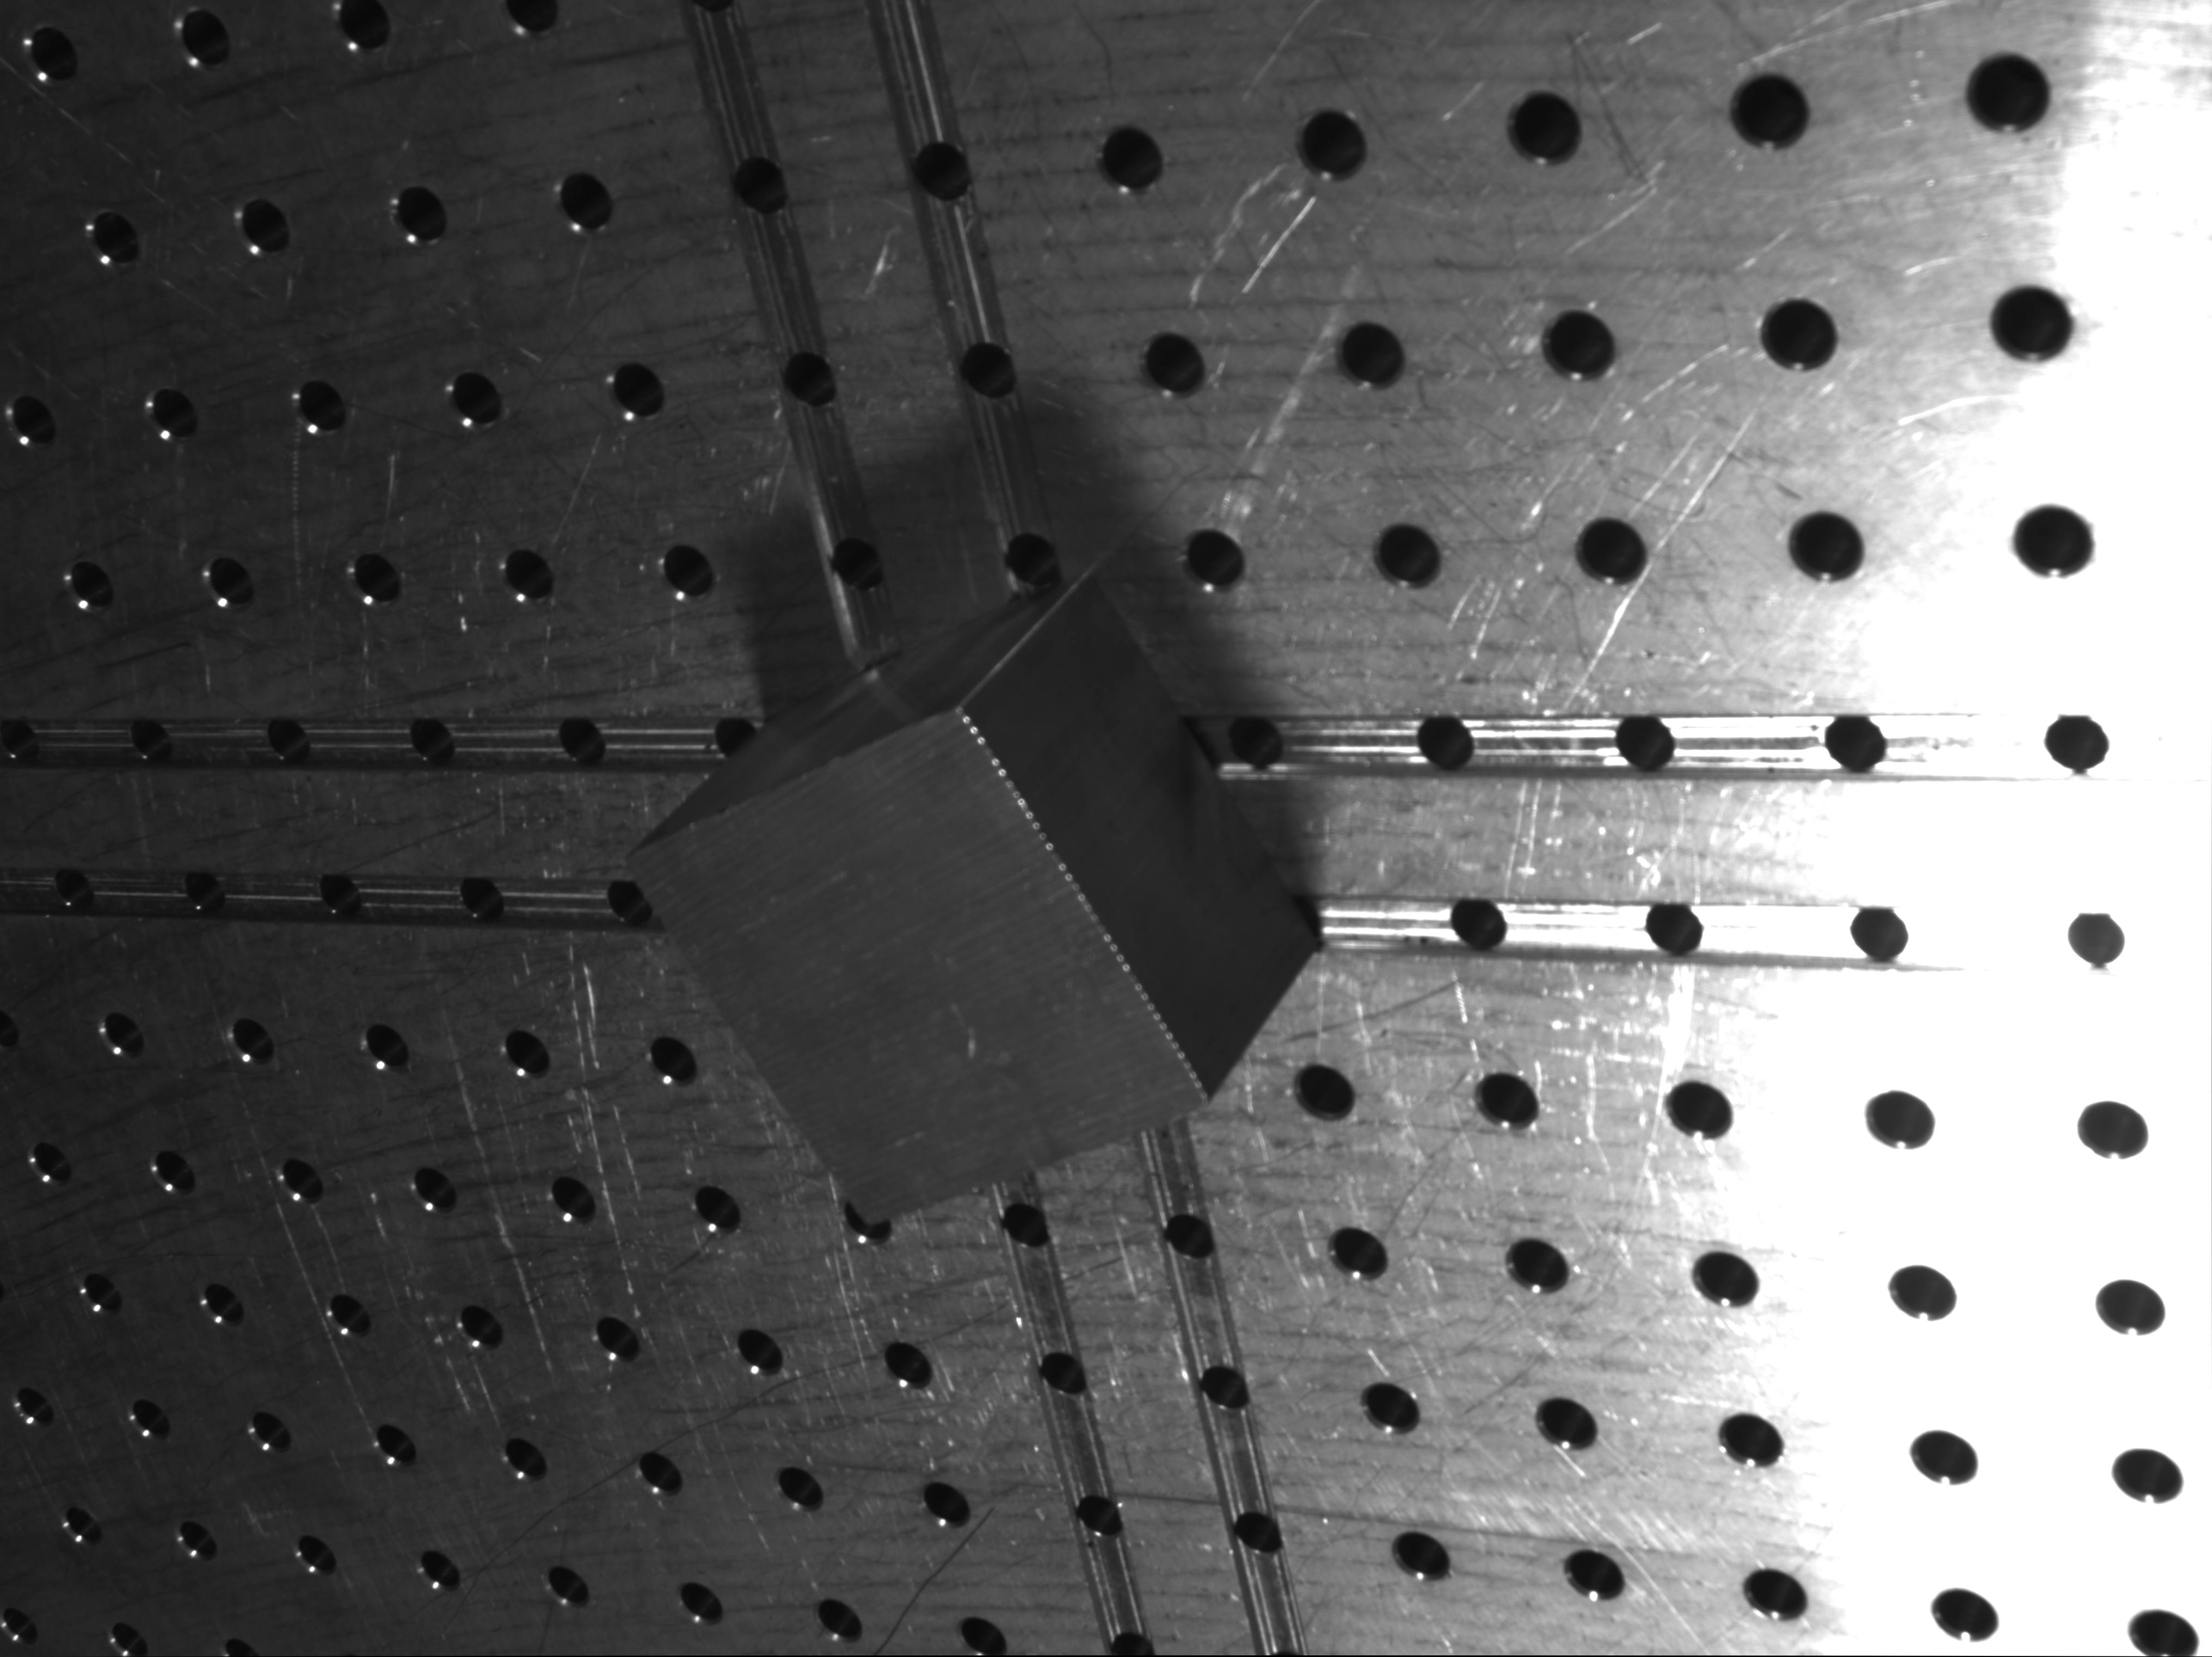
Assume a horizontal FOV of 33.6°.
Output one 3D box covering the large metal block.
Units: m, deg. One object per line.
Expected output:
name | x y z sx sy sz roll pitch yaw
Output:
large metal block | -0.024 0.015 0.636 0.080 0.050 0.080 -22 107 35
